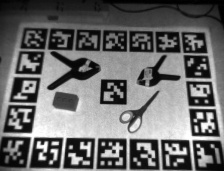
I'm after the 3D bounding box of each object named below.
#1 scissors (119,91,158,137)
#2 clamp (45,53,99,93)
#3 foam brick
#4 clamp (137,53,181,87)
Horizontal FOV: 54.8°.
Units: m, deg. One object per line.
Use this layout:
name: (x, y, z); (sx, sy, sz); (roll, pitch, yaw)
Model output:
scissors: (0.109, 0.093, 0.804); (0.087, 0.016, 0.203); (40, 74, 4)
clamp: (-0.154, -0.056, 0.843); (0.203, 0.037, 0.164); (-3, 69, -3)
foam brick: (-0.172, 0.071, 0.795); (0.078, 0.051, 0.052); (6, 73, 7)
clamp: (0.173, -0.045, 0.847); (0.165, 0.036, 0.121); (-26, 81, -8)
